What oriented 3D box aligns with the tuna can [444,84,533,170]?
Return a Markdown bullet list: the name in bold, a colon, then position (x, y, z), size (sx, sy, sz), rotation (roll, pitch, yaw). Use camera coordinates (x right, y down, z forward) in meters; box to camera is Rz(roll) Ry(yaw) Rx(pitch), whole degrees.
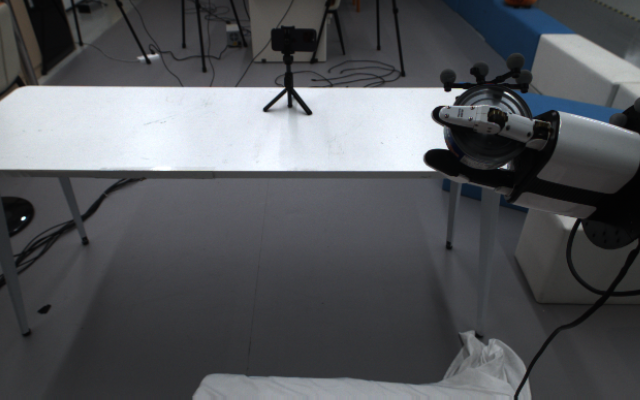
- **tuna can**: position (0.177, -0.079, 0.513), size (0.085, 0.034, 0.085), rotation (-1, 75, 4)
